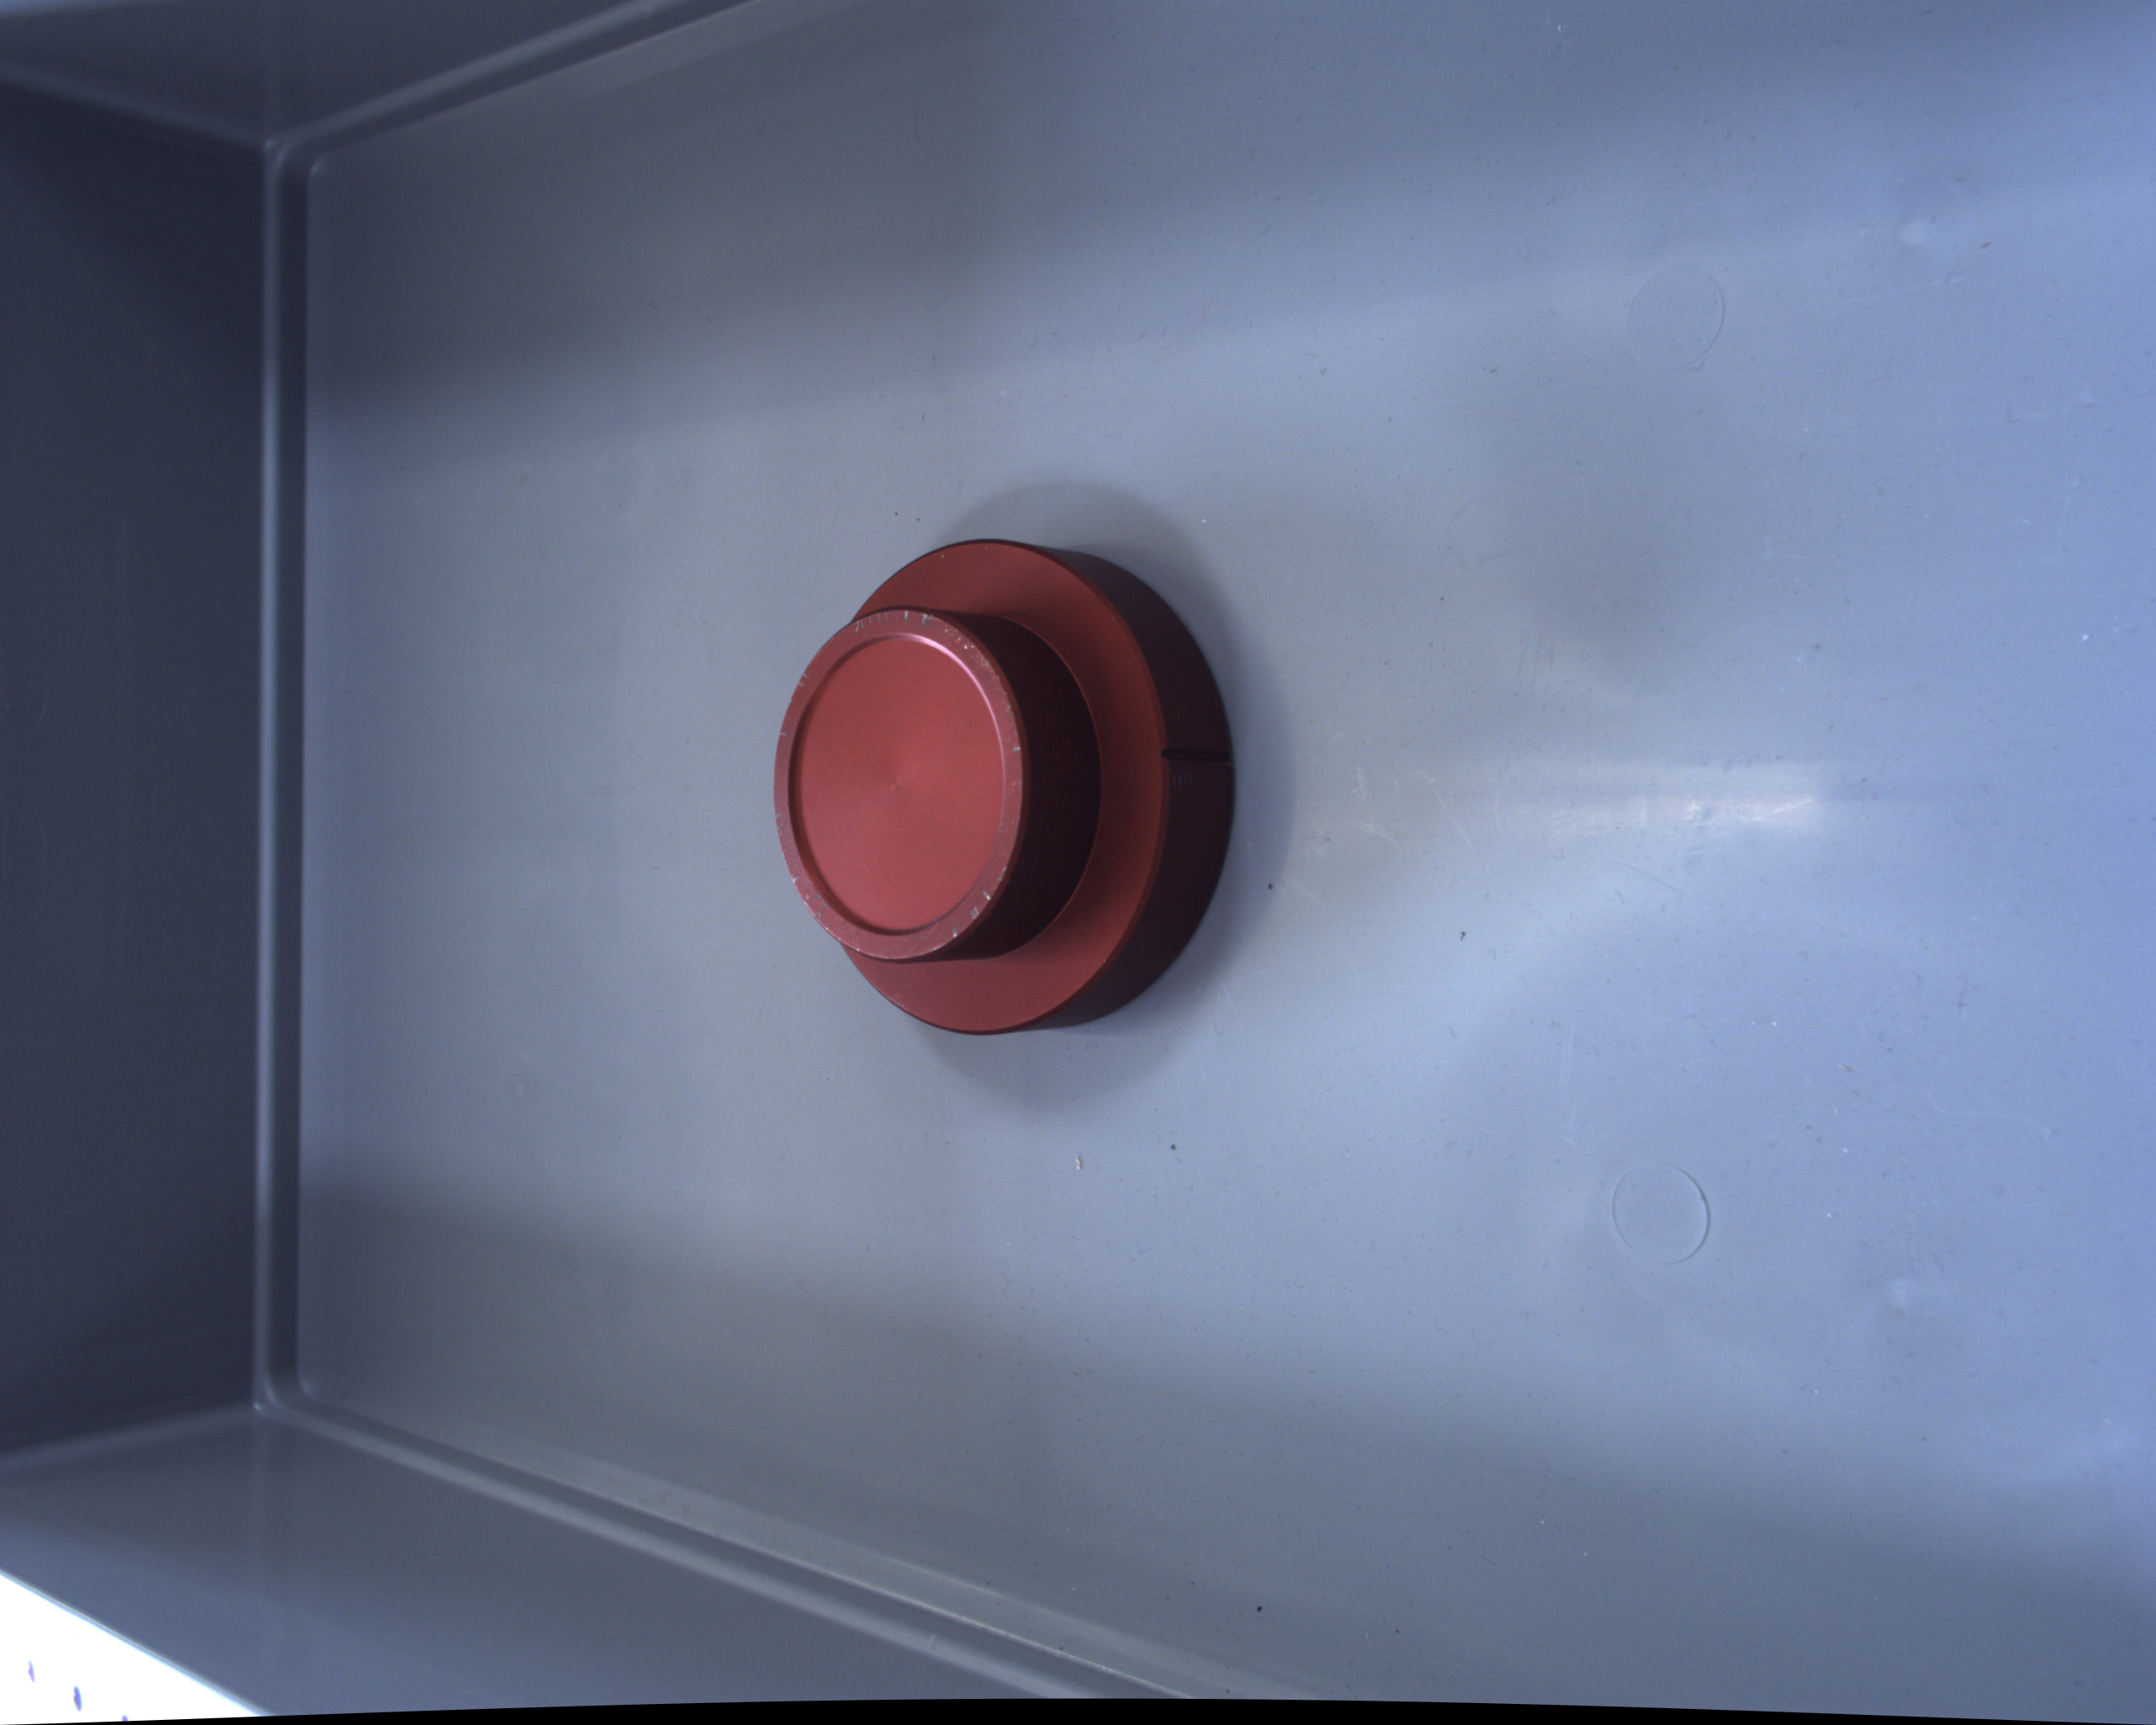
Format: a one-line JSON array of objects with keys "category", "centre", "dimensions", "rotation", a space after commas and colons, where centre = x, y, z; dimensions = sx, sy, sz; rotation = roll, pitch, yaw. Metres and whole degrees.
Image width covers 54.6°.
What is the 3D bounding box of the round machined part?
[{"category": "round machined part", "centre": [-0.021, -0.015, 0.411], "dimensions": [0.098, 0.042, 0.097], "rotation": [0, 90, 40]}]
